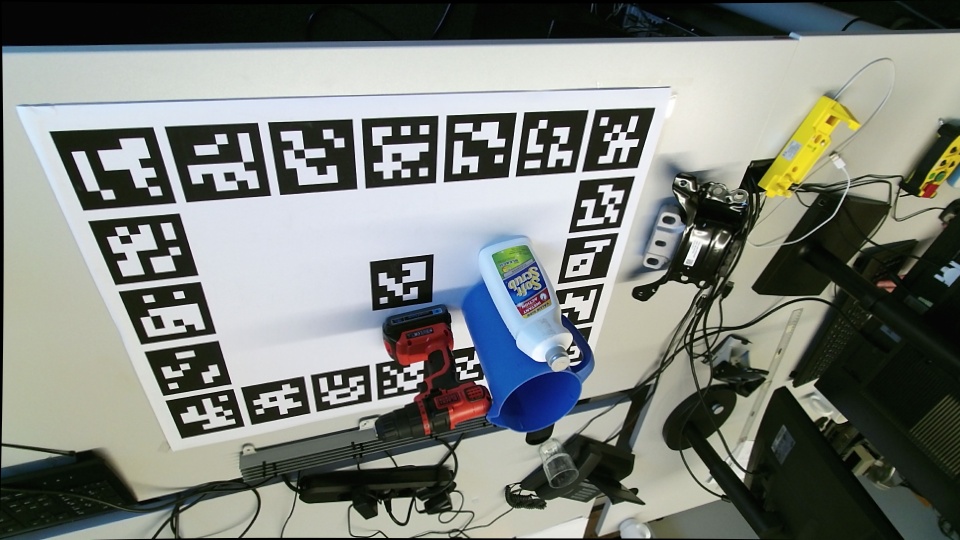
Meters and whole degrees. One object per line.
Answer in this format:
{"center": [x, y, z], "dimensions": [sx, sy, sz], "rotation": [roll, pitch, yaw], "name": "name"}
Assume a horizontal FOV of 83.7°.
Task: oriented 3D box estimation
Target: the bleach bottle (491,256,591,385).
{"center": [0.102, 0.077, 0.810], "dimensions": [0.103, 0.250, 0.068], "rotation": [-15, 128, -13], "name": "bleach bottle"}

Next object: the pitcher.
{"center": [0.079, 0.151, 0.880], "dimensions": [0.189, 0.241, 0.133], "rotation": [-30, 128, -1], "name": "pitcher"}

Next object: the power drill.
{"center": [-0.085, 0.182, 0.848], "dimensions": [0.185, 0.186, 0.057], "rotation": [-9, 124, -9], "name": "power drill"}
